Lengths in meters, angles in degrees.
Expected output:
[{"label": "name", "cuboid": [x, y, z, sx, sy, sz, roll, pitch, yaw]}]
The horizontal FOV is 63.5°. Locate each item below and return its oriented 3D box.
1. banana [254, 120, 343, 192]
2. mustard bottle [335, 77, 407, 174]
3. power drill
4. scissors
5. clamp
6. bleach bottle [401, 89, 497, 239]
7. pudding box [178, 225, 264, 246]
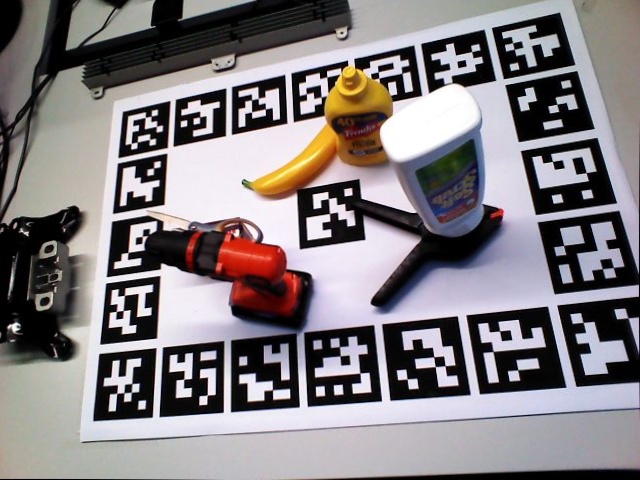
[{"label": "banana", "cuboid": [-0.016, -0.137, 0.814, 0.197, 0.039, 0.074, -44, 48, -3]}, {"label": "mustard bottle", "cuboid": [0.073, -0.161, 0.725, 0.097, 0.191, 0.058, 6, 71, 17]}, {"label": "power drill", "cuboid": [-0.102, 0.057, 0.657, 0.185, 0.187, 0.057, 4, 64, 20]}, {"label": "scissors", "cuboid": [-0.169, -0.013, 0.717, 0.203, 0.016, 0.087, 18, 79, 16]}, {"label": "clamp", "cuboid": [0.166, -0.007, 0.703, 0.203, 0.036, 0.164, -14, 69, 9]}, {"label": "bleach bottle", "cuboid": [0.173, -0.063, 0.607, 0.103, 0.250, 0.067, -28, 60, 12]}, {"label": "pudding box", "cuboid": [-0.144, 0.015, 0.770, 0.114, 0.090, 0.038, -4, 62, 14]}]
